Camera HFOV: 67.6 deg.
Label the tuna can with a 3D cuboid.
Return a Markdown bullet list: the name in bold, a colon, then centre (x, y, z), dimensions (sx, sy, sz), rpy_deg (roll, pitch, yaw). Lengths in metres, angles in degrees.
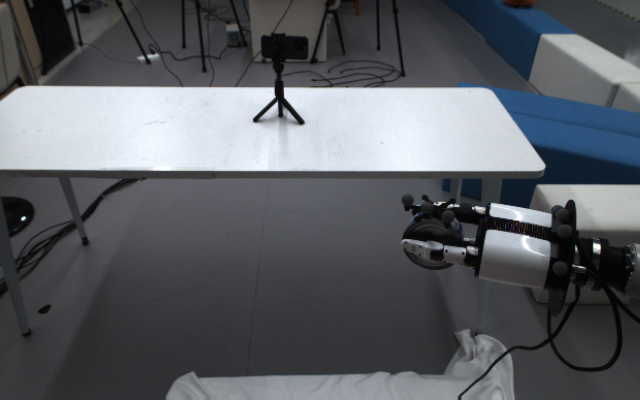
- **tuna can**: centre (0.167, 0.053, 0.702), dimensions (0.085, 0.085, 0.034), rpy_deg (13, 29, 16)
